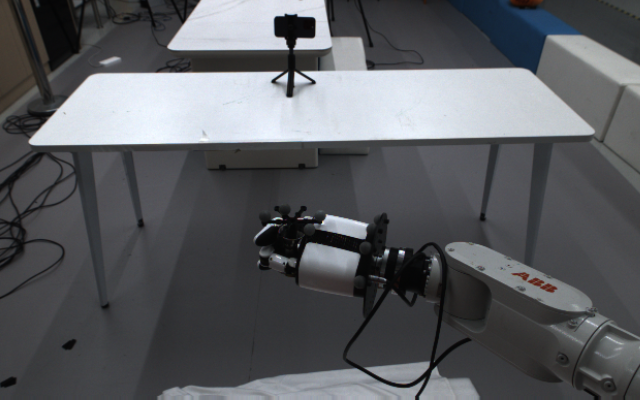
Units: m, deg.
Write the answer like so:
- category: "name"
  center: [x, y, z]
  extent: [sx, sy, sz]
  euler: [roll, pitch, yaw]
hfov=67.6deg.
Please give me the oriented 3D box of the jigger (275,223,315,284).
- category: "jigger"
  center: [-0.040, 0.073, 0.739]
  extent: [0.043, 0.071, 0.043]
  euler: [4, 31, -2]
